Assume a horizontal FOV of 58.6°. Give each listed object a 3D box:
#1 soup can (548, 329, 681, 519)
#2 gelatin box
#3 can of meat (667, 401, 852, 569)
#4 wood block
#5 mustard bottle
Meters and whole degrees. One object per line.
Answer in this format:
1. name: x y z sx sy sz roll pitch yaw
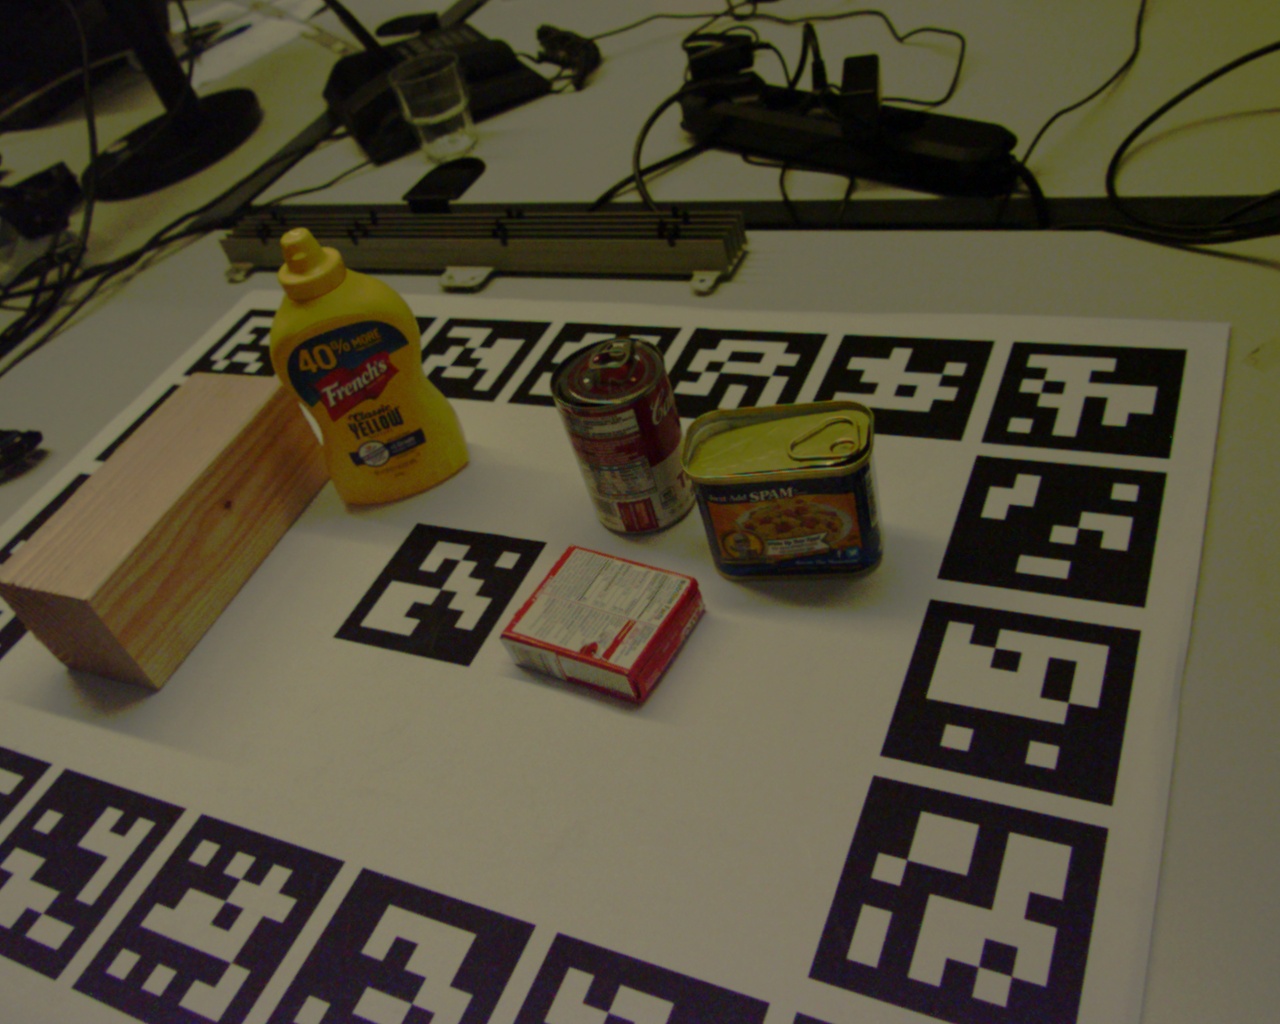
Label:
1. soup can: -0.010 -0.053 0.713 0.068 0.101 0.068 -11 43 10
2. gelatin box: -0.027 0.059 0.660 0.090 0.030 0.073 14 53 35
3. can of meat: 0.073 -0.014 0.667 0.102 0.083 0.058 -2 45 15
4. wood block: -0.312 0.003 0.789 0.092 0.089 0.205 9 44 26
5. mustard bottle: -0.194 -0.092 0.777 0.096 0.190 0.059 -11 41 7
